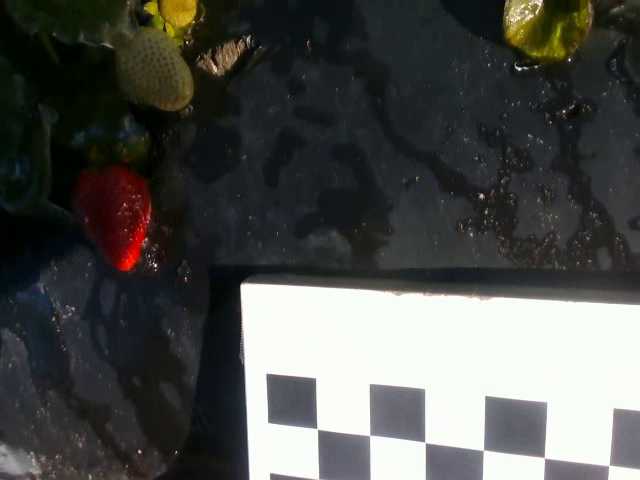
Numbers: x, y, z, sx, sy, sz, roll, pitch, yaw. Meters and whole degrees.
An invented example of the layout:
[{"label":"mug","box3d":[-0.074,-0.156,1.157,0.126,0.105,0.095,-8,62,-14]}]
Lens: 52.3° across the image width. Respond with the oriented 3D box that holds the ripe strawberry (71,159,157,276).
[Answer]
[{"label":"ripe strawberry","box3d":[-0.102,-0.008,0.299,0.041,0.052,0.040,-17,-2,18]}]
